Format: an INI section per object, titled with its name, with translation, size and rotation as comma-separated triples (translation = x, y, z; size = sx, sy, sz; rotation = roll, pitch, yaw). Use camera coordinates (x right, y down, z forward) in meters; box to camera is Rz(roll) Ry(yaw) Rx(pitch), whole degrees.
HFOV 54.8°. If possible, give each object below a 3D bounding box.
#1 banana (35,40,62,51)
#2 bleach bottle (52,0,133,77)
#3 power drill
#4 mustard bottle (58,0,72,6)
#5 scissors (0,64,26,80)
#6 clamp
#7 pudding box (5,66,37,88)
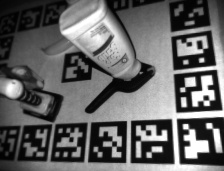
[banana]
translation = -0.169, -0.172, 0.696
size = 0.197, 0.039, 0.073
rotation = -42, 46, 2
[bleach bottle]
translation = -0.011, -0.083, 0.479
size = 0.102, 0.254, 0.067
rotation = -26, 60, 18
[power drill]
translation = -0.282, 0.024, 0.556
size = 0.182, 0.189, 0.057
rotation = 7, 67, 26
[mustard bottle]
translation = -0.091, -0.190, 0.600
size = 0.095, 0.193, 0.058
rotation = 9, 74, 23
[scissors]
translation = -0.337, -0.051, 0.619
size = 0.201, 0.016, 0.088
rotation = 22, 84, 20
[clamp]
translation = -0.008, -0.030, 0.578
size = 0.201, 0.037, 0.165
rotation = -11, 70, 15
[pudding box]
translation = -0.307, -0.024, 0.671
size = 0.113, 0.091, 0.038
rotation = -1, 64, 20
